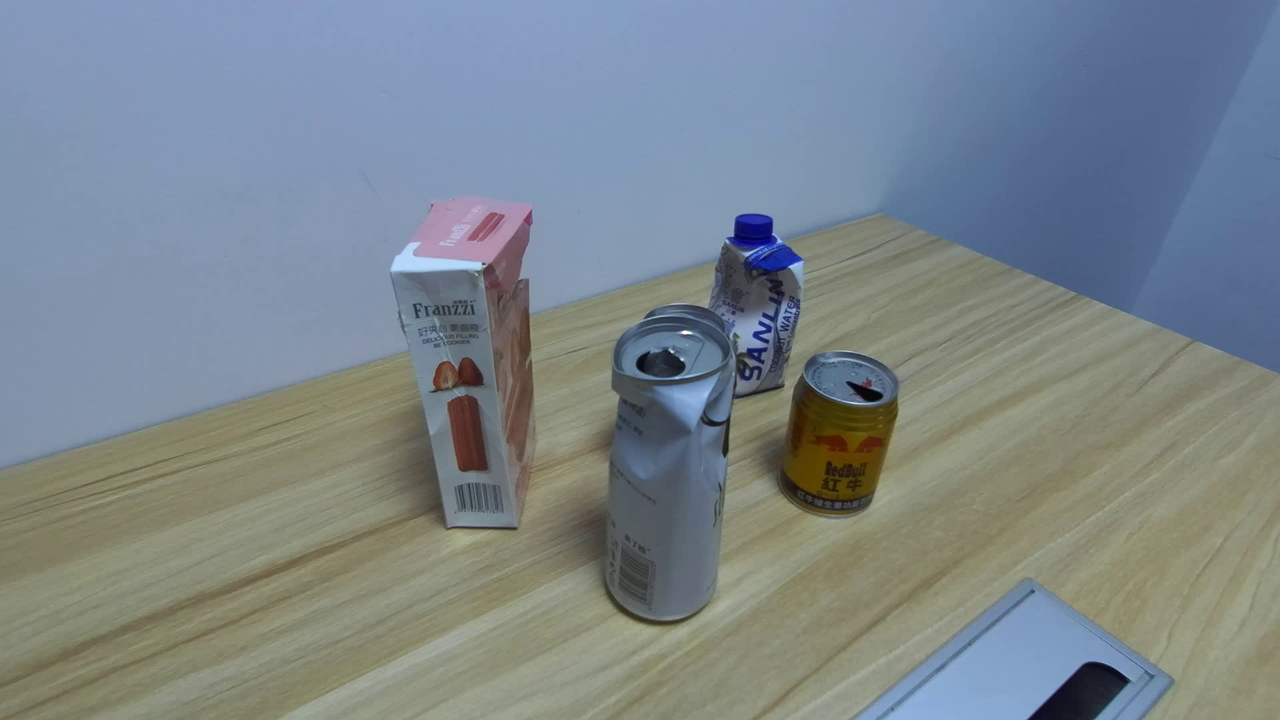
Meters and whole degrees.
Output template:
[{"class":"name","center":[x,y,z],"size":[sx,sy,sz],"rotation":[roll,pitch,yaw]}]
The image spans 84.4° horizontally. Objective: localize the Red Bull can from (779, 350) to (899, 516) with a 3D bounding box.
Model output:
[{"class":"Red Bull can","center":[0.130,0.048,0.463],"size":[0.067,0.093,0.067],"rotation":[2,32,-1]}]

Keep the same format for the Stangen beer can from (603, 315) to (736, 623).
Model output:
[{"class":"Stangen beer can","center":[0.014,0.062,0.371],"size":[0.066,0.166,0.066],"rotation":[16,37,21]}]

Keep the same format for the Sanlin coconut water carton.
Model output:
[{"class":"Sanlin coconut water carton","center":[0.086,-0.037,0.545],"size":[0.057,0.145,0.068],"rotation":[-17,44,-15]}]

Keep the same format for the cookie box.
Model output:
[{"class":"cookie box","center":[-0.099,0.007,0.434],"size":[0.059,0.186,0.105],"rotation":[4,32,0]}]
